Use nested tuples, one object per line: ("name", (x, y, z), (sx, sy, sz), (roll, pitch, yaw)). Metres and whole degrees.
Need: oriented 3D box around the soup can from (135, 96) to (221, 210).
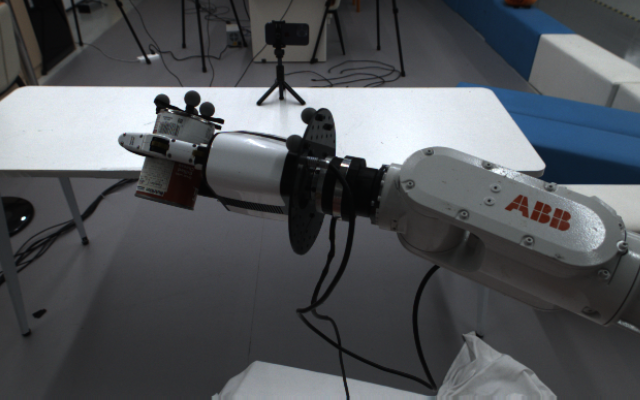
("soup can", (-0.164, -0.044, 0.556), (0.067, 0.101, 0.067), (13, -6, 1))
